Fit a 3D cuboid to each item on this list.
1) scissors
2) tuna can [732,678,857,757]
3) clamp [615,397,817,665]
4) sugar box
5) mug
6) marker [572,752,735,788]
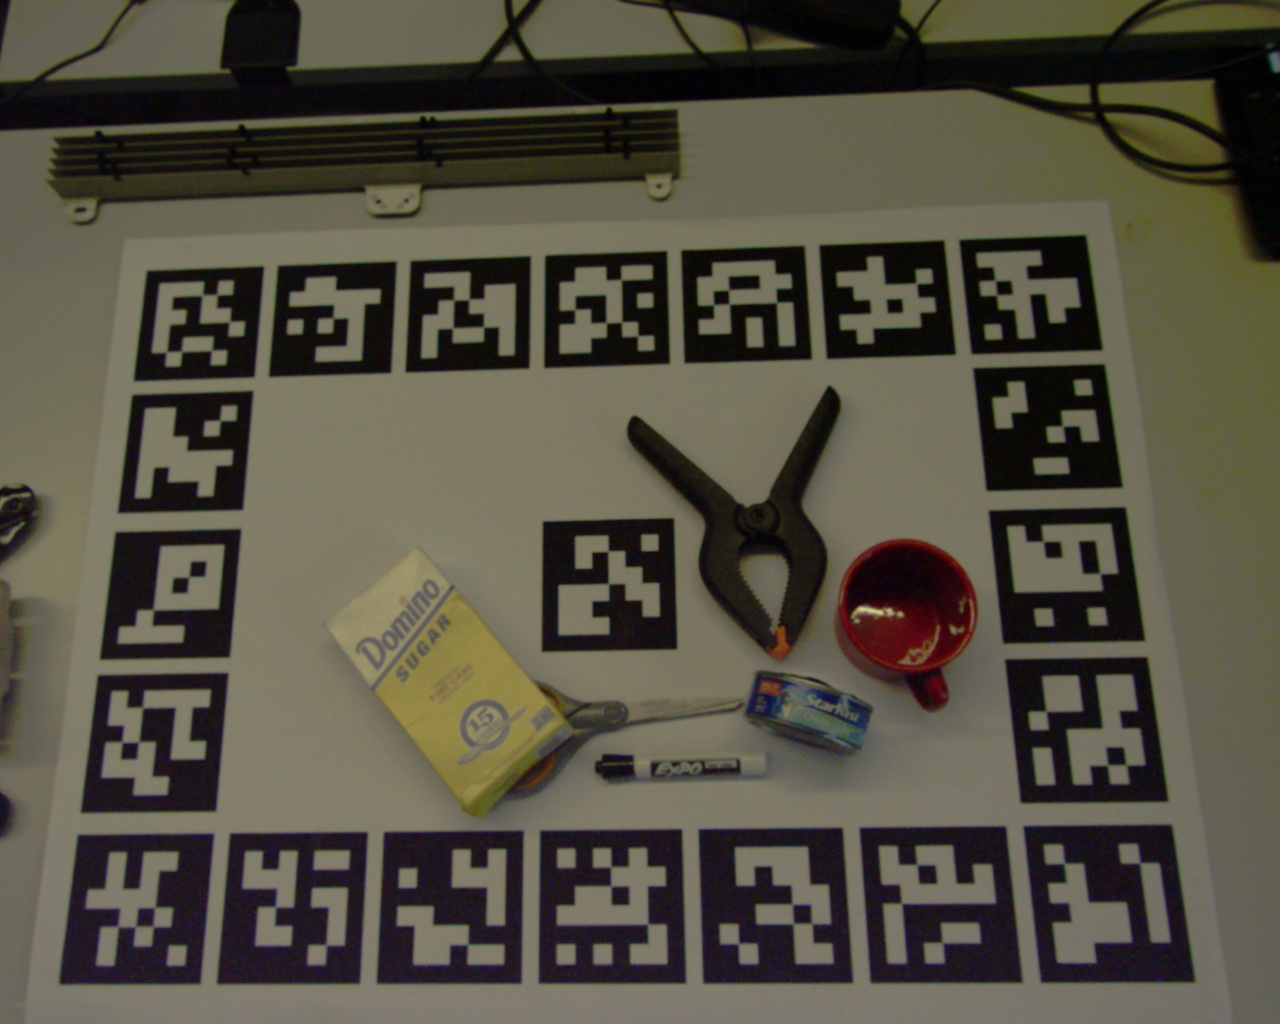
[{"bbox_3d":[-0.037,0.152,0.860,0.202,0.016,0.088,-11,70,-2],"label":"scissors"},{"bbox_3d":[0.110,0.148,0.821,0.086,0.085,0.034,16,76,7],"label":"tuna can"},{"bbox_3d":[0.078,0.019,0.895,0.165,0.036,0.203,-11,75,0],"label":"clamp"},{"bbox_3d":[-0.144,0.128,0.856,0.092,0.045,0.178,-37,70,-8],"label":"sugar box"},{"bbox_3d":[0.169,0.097,0.837,0.093,0.081,0.118,-28,72,-5],"label":"mug"},{"bbox_3d":[0.010,0.192,0.848,0.121,0.019,0.020,-5,75,2],"label":"marker"}]
